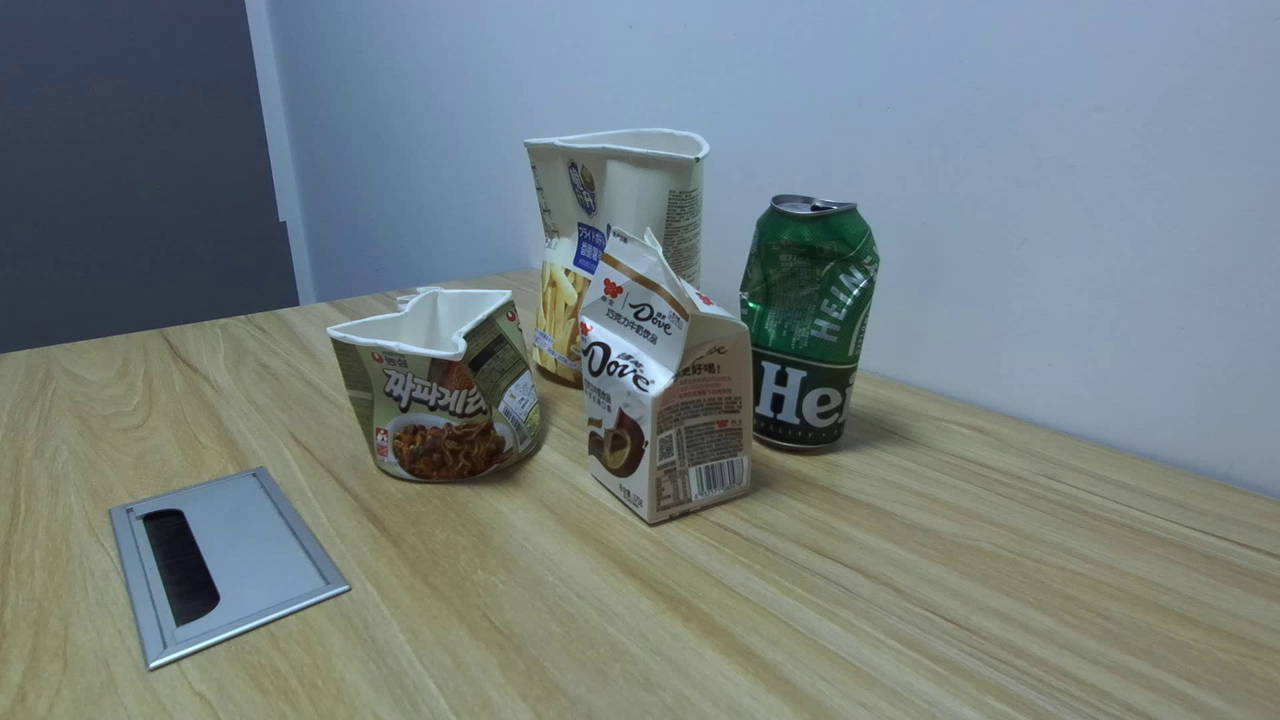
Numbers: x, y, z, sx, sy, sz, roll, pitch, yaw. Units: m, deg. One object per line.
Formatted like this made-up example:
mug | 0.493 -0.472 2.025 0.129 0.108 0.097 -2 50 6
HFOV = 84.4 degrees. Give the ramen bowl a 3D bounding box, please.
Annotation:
ramen bowl | -0.123 0.012 0.473 0.111 0.093 0.128 8 22 21

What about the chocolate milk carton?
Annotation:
chocolate milk carton | 0.015 0.003 0.401 0.074 0.155 0.076 -14 26 -26

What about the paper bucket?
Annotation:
paper bucket | -0.021 -0.088 0.598 0.217 0.199 0.148 11 23 30
